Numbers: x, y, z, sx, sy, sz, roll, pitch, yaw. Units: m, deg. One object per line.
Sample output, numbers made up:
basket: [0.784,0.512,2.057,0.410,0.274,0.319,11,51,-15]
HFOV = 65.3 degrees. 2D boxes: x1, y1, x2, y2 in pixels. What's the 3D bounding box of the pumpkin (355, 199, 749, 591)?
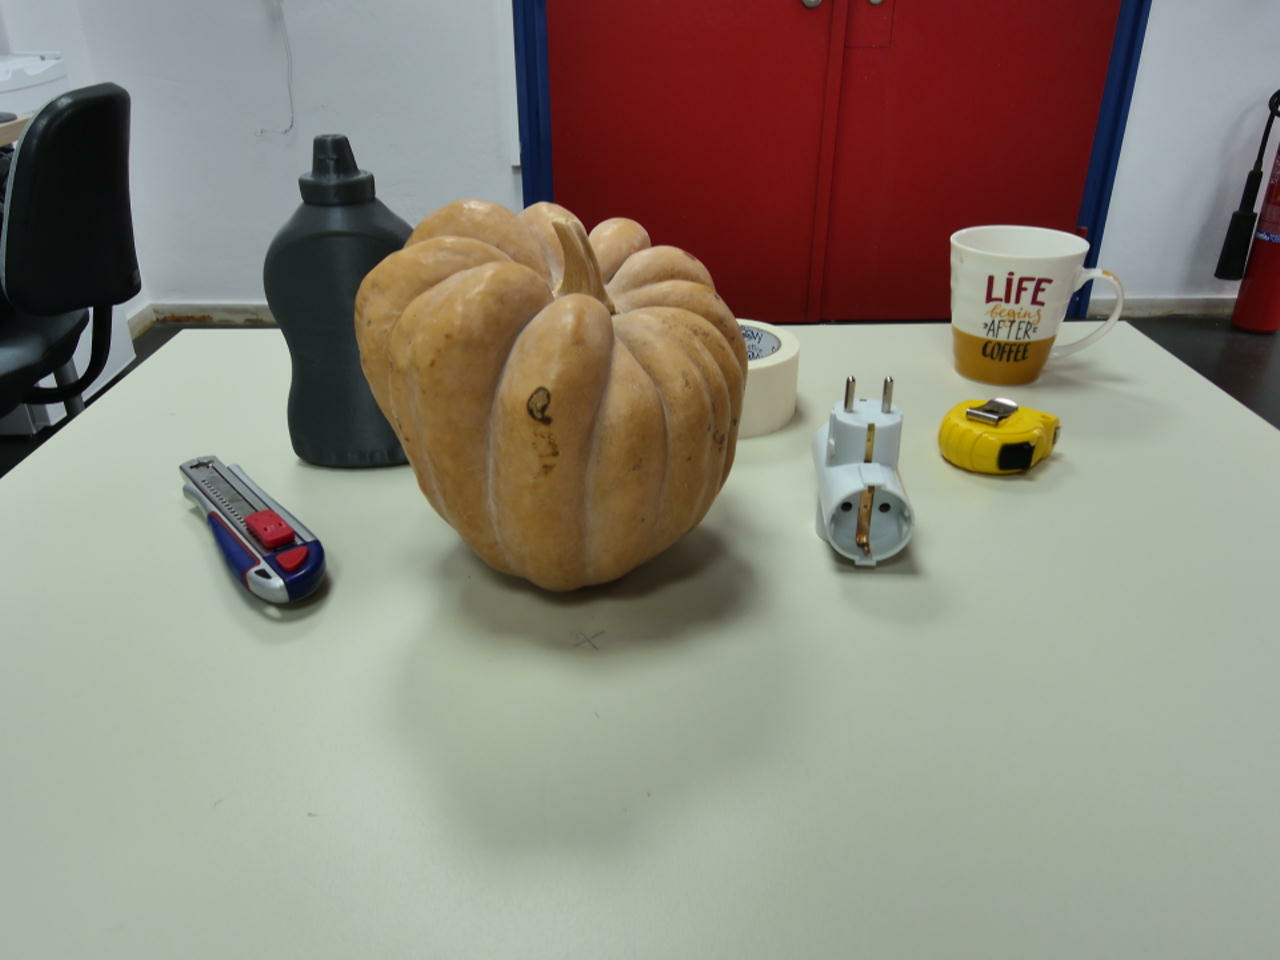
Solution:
pumpkin: [-0.040,-0.043,0.495,0.199,0.177,0.198,0,26,0]
